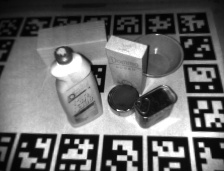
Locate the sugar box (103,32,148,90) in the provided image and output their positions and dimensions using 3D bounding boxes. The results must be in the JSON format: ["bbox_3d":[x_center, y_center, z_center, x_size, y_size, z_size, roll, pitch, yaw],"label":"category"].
[{"bbox_3d":[0.041,-0.057,0.560,0.092,0.178,0.045,18,66,20],"label":"sugar box"}]

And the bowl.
[{"bbox_3d":[0.133,-0.096,0.646,0.161,0.055,0.161,-4,60,8],"label":"bowl"}]

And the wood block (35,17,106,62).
[{"bbox_3d":[-0.121,-0.146,0.682,0.206,0.090,0.090,-7,64,1],"label":"wood block"}]

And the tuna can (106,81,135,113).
[{"bbox_3d":[0.022,0.031,0.594,0.085,0.034,0.085,-2,63,5],"label":"tuna can"}]

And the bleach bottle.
[{"bbox_3d":[-0.091,-0.001,0.501,0.103,0.252,0.067,-22,59,-5],"label":"bleach bottle"}]

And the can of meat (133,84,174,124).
[{"bbox_3d":[0.102,0.046,0.557,0.102,0.084,0.057,-25,58,-10],"label":"can of meat"}]
